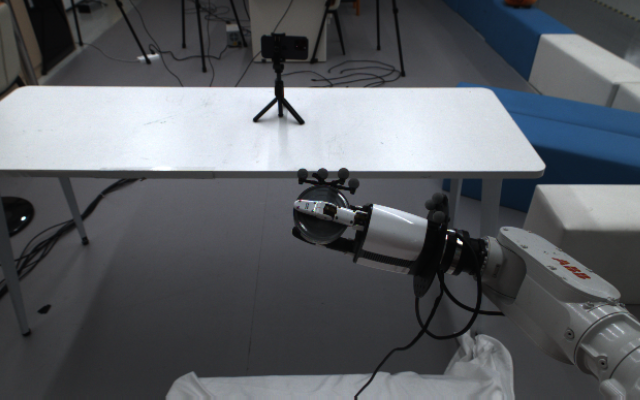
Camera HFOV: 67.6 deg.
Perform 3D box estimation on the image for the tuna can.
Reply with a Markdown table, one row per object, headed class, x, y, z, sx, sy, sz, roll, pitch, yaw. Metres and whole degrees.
| class | x | y | z | sx | sy | sz | roll | pitch | yaw |
| --- | --- | --- | --- | --- | --- | --- | --- | --- | --- |
| tuna can | 0.003 | 0.021 | 0.723 | 0.085 | 0.034 | 0.085 | 1 | 72 | -2 |
